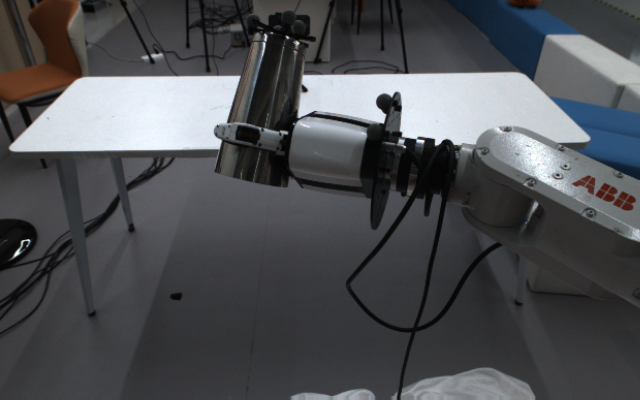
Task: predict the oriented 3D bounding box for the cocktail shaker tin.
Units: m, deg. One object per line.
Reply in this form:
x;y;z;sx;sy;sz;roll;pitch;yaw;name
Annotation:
-0.066;-0.108;0.588;0.093;0.170;0.093;12;4;-1;cocktail shaker tin
